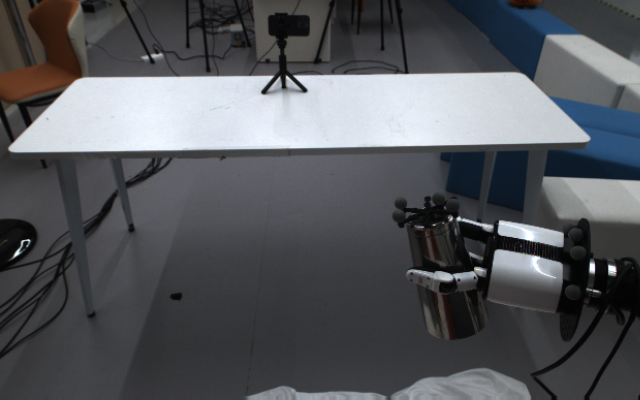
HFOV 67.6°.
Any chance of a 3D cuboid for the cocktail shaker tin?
[{"bbox_3d":[0.172,0.097,0.673,0.093,0.170,0.093,-17,20,6],"label":"cocktail shaker tin"}]
